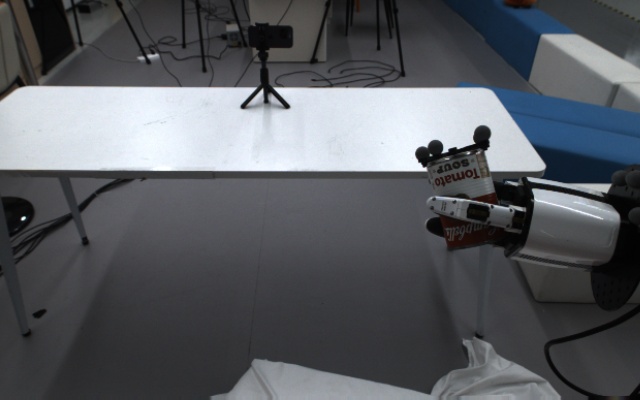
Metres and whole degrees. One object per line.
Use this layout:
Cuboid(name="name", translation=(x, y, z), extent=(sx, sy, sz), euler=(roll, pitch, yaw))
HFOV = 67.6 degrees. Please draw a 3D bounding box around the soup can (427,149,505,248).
Cuboid(name="soup can", translation=(0.168, -0.001, 0.554), extent=(0.067, 0.101, 0.067), euler=(-14, -2, -1))
